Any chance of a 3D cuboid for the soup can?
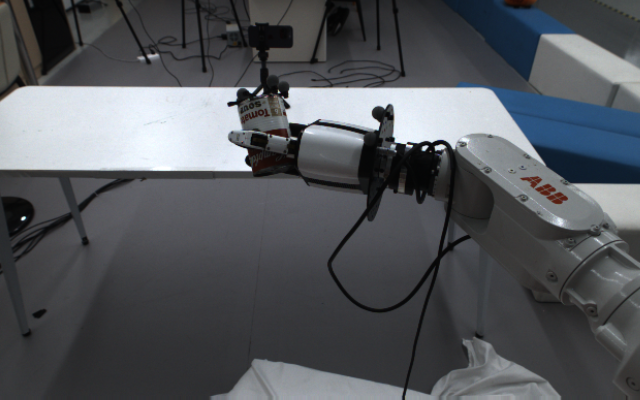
[{"bbox_3d":[-0.073,-0.089,0.687,0.067,0.101,0.067,-14,-2,-1],"label":"soup can"}]
